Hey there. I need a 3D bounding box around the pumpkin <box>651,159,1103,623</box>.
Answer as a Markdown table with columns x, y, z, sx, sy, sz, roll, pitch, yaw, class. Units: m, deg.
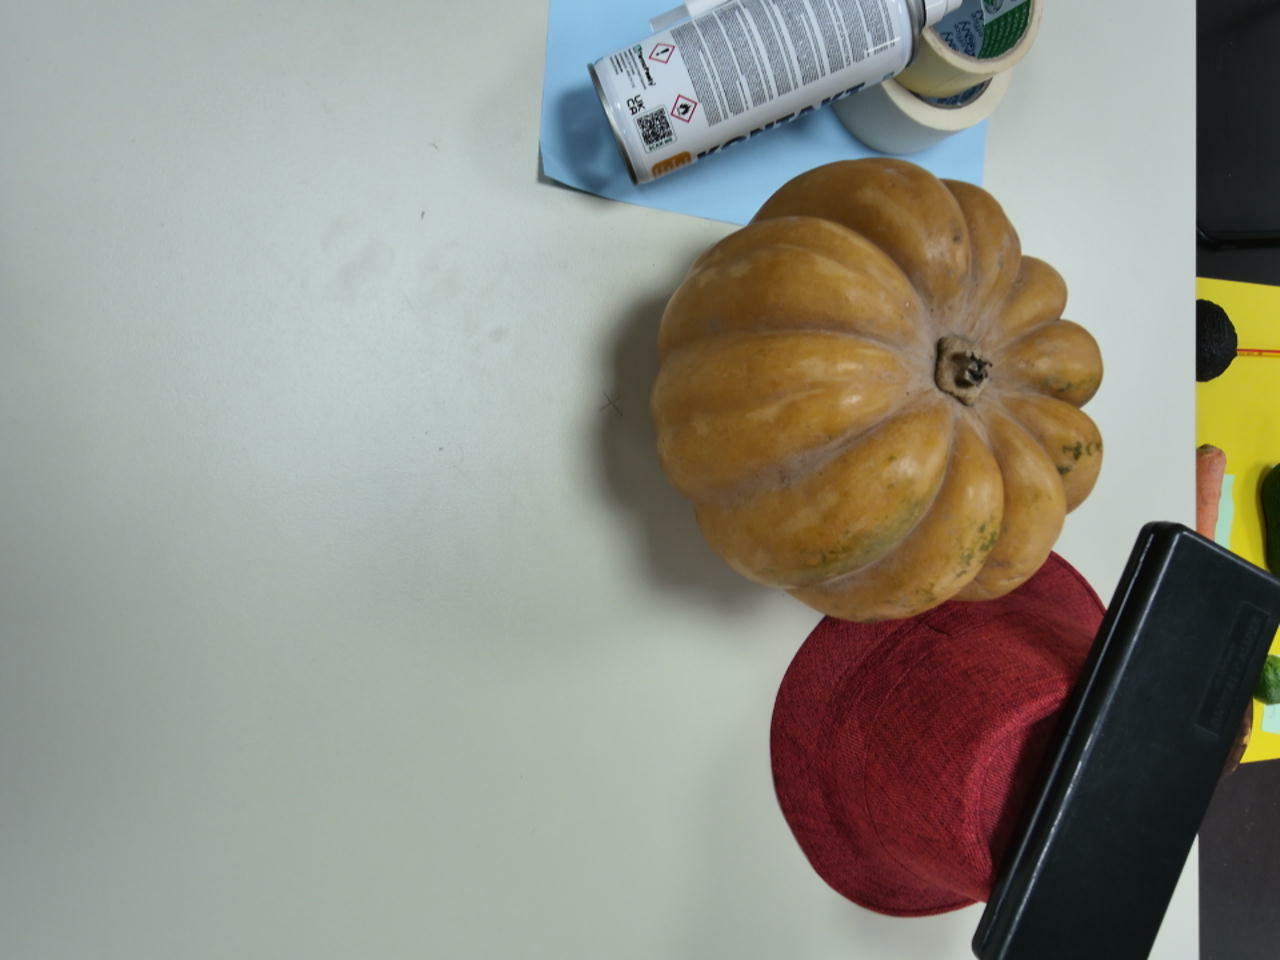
| x | y | z | sx | sy | sz | roll | pitch | yaw | class |
| --- | --- | --- | --- | --- | --- | --- | --- | --- | --- |
| 0.114 | -0.040 | 0.510 | 0.230 | 0.194 | 0.230 | 0 | 91 | -22 | pumpkin |
